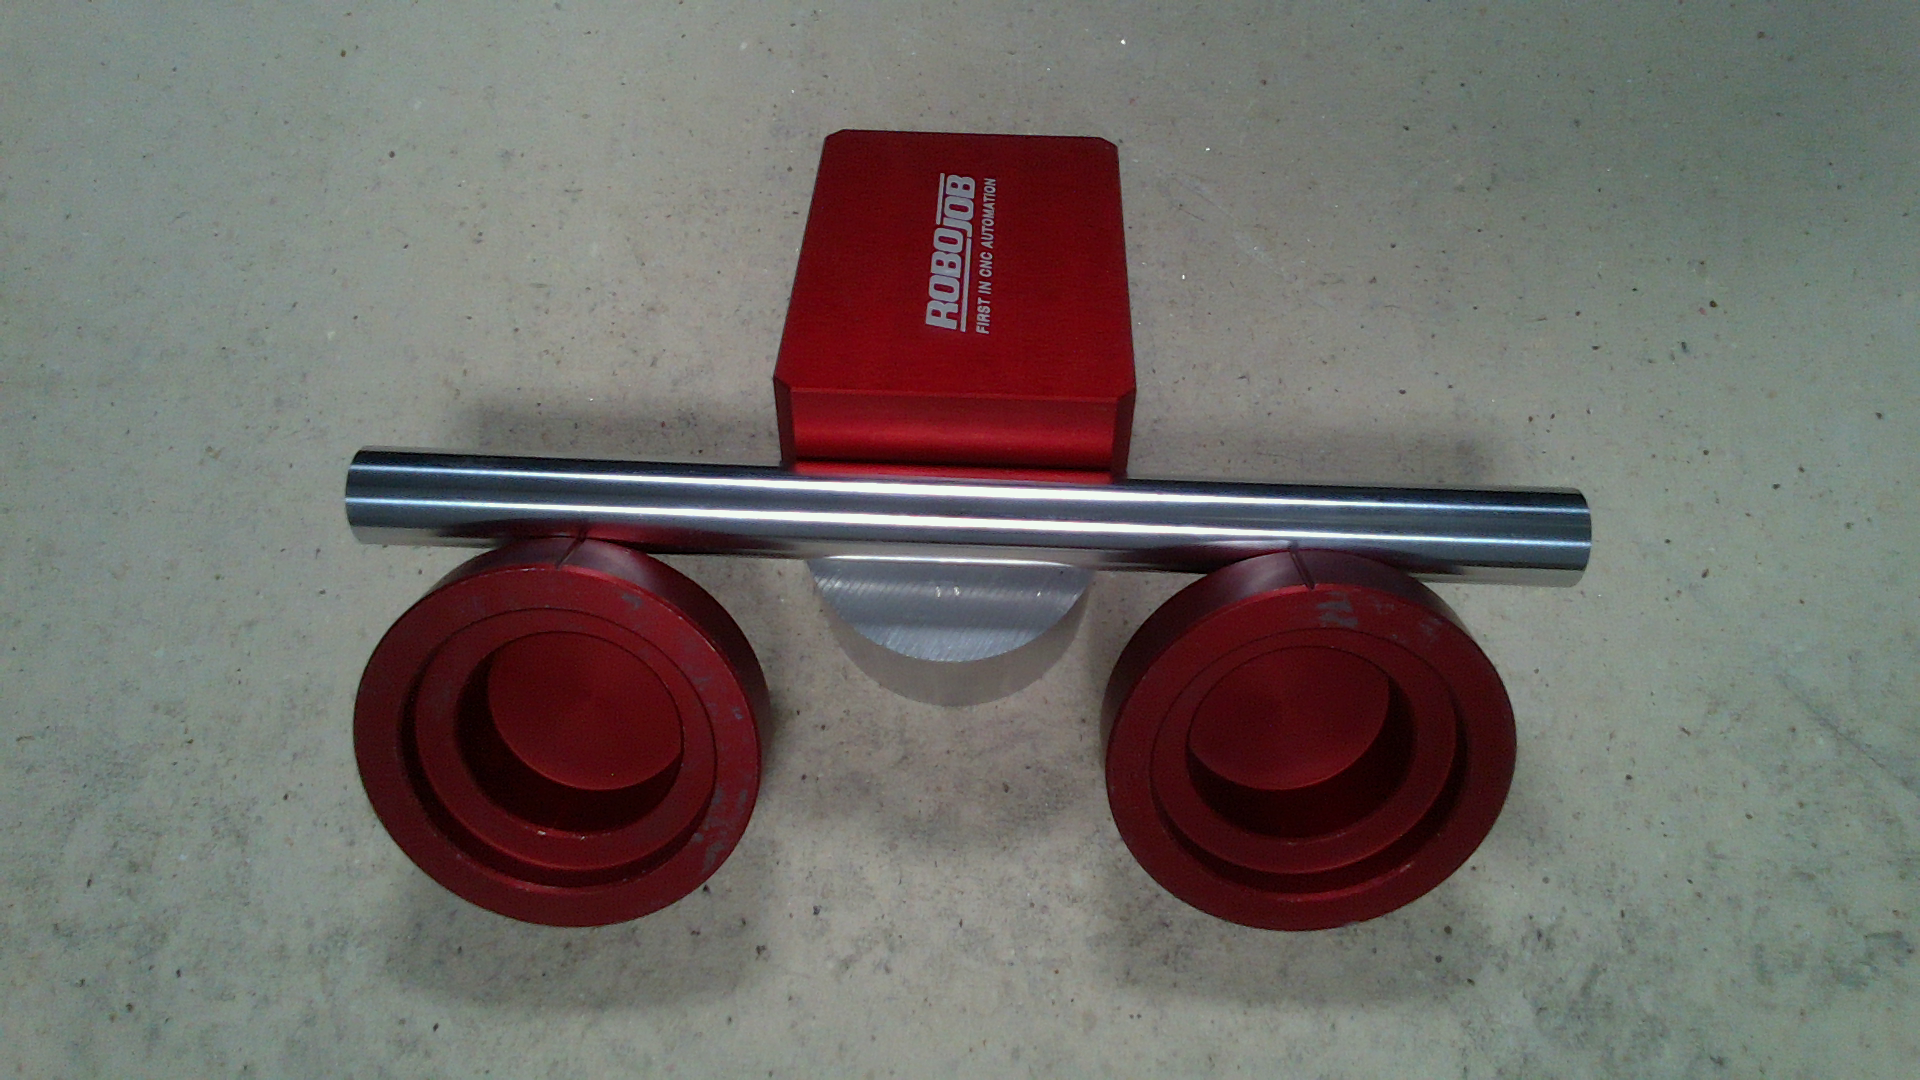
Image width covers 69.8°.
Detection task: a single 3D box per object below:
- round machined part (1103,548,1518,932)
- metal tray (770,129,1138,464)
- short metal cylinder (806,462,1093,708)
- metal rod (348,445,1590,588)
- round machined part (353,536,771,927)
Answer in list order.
[{"bbox_3d":[0.085,0.047,0.350,0.098,0.042,0.098,0,113,1],"label":"round machined part"},{"bbox_3d":[0.000,-0.071,0.389,0.090,0.030,0.130,2,44,1],"label":"metal tray"},{"bbox_3d":[-0.002,0.001,0.381,0.080,0.050,0.080,0,70,0],"label":"short metal cylinder"},{"bbox_3d":[0.002,-0.006,0.344,0.300,0.025,0.025,2,70,1],"label":"metal rod"},{"bbox_3d":[-0.097,0.045,0.352,0.098,0.042,0.098,0,108,-1],"label":"round machined part"}]
